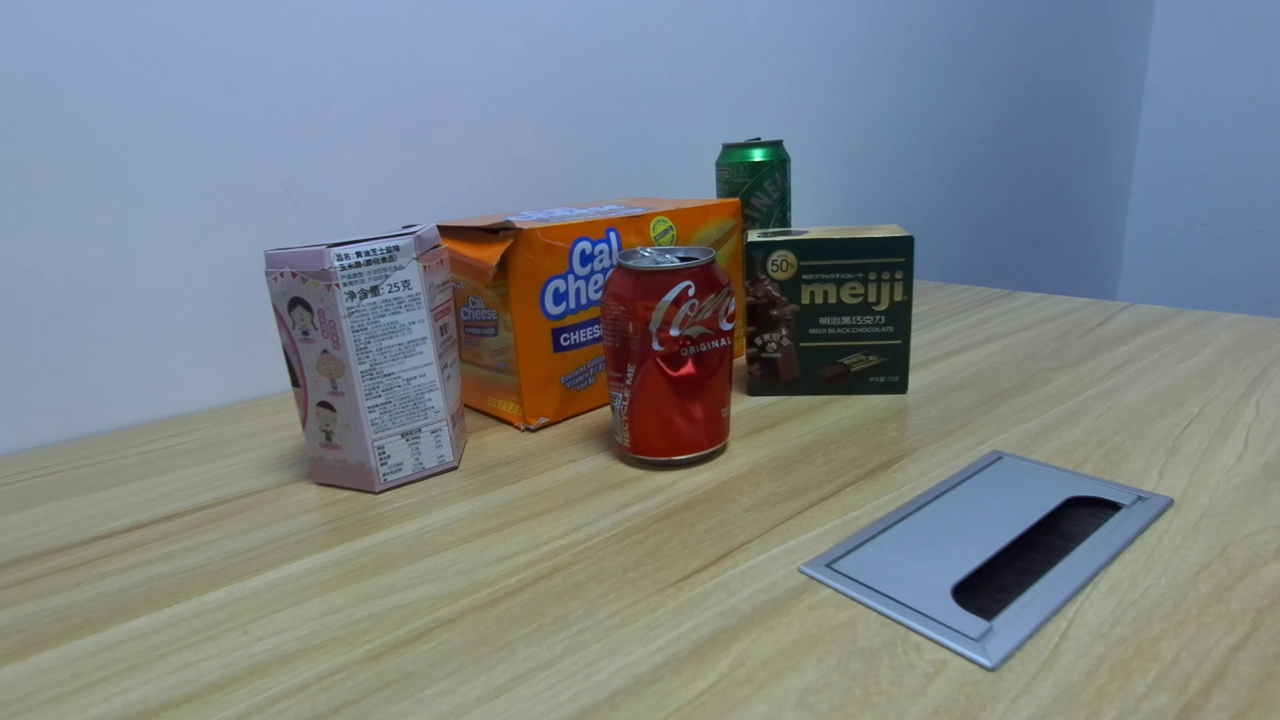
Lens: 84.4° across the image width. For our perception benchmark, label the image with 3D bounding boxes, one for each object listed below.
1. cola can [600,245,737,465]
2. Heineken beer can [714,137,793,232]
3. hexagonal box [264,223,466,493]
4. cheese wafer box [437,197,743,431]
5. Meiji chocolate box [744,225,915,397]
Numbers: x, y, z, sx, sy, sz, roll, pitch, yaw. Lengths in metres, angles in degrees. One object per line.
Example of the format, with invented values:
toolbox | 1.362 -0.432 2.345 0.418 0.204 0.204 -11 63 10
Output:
cola can | 0.016 -0.004 0.396 0.065 0.117 0.067 8 20 36
Heineken beer can | 0.102 -0.106 0.633 0.067 0.169 0.067 -3 11 1
hexagonal box | -0.148 -0.003 0.401 0.085 0.135 0.092 -5 17 -4
cheese wafer box | -0.043 -0.052 0.547 0.228 0.137 0.149 -18 22 -40
Meiji chocolate box | 0.126 -0.034 0.485 0.110 0.109 0.056 -1 17 8
